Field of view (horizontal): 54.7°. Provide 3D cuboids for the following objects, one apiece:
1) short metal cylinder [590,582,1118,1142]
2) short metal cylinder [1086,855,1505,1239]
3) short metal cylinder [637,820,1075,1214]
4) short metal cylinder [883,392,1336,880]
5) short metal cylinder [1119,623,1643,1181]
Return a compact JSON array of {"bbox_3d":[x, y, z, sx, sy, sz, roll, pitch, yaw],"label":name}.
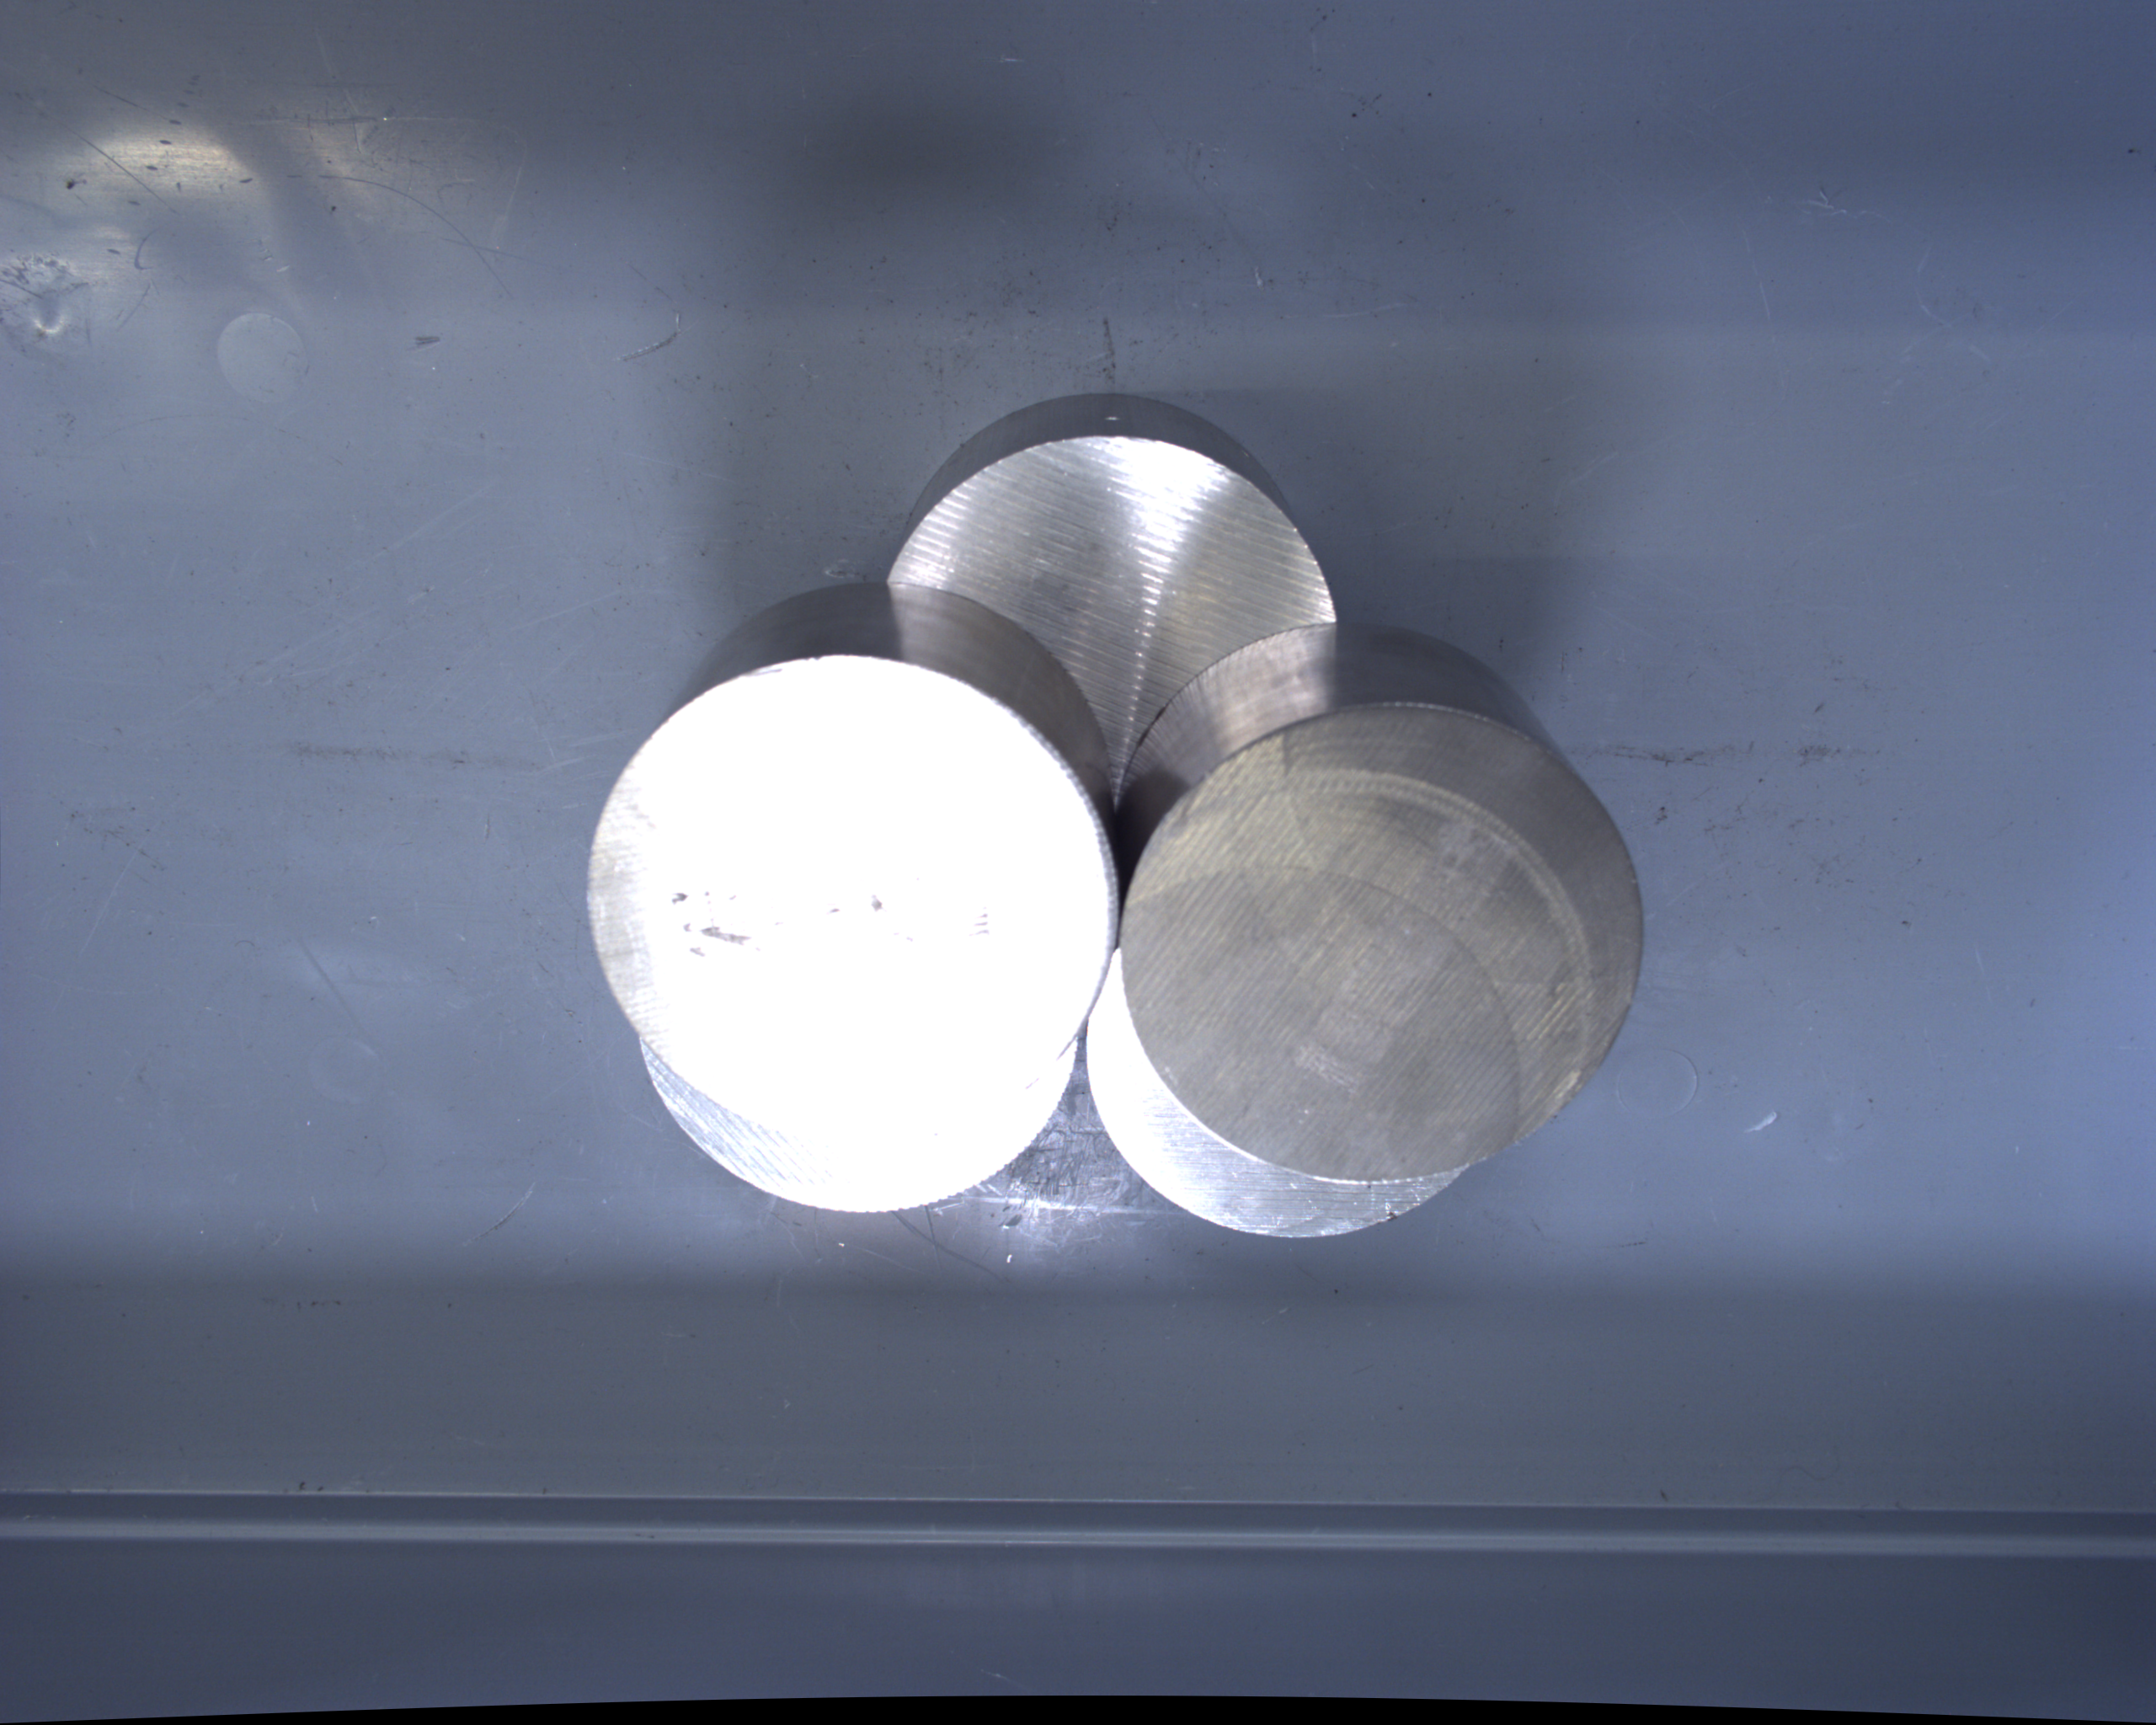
[{"bbox_3d":[-0.034,-0.001,0.342,0.081,0.050,0.079,0,110,0],"label":"short metal cylinder"},{"bbox_3d":[0.042,0.025,0.406,0.081,0.050,0.079,0,110,0],"label":"short metal cylinder"},{"bbox_3d":[-0.040,0.020,0.403,0.081,0.050,0.079,0,110,0],"label":"short metal cylinder"},{"bbox_3d":[0.005,-0.042,0.381,0.081,0.050,0.079,0,110,0],"label":"short metal cylinder"},{"bbox_3d":[0.047,0.005,0.344,0.081,0.050,0.079,0,110,0],"label":"short metal cylinder"}]
